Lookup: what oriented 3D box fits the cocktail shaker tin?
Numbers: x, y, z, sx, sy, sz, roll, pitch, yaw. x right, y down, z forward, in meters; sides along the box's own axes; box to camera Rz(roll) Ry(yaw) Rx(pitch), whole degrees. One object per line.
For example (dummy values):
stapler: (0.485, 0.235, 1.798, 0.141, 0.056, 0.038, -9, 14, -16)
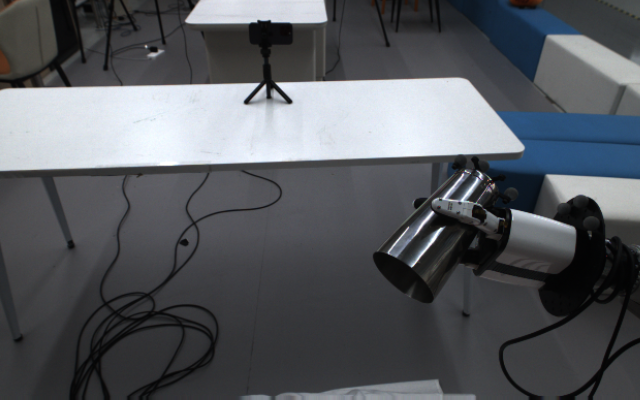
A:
cocktail shaker tin: (0.157, 0.034, 0.624, 0.093, 0.093, 0.170, 32, 67, 35)
